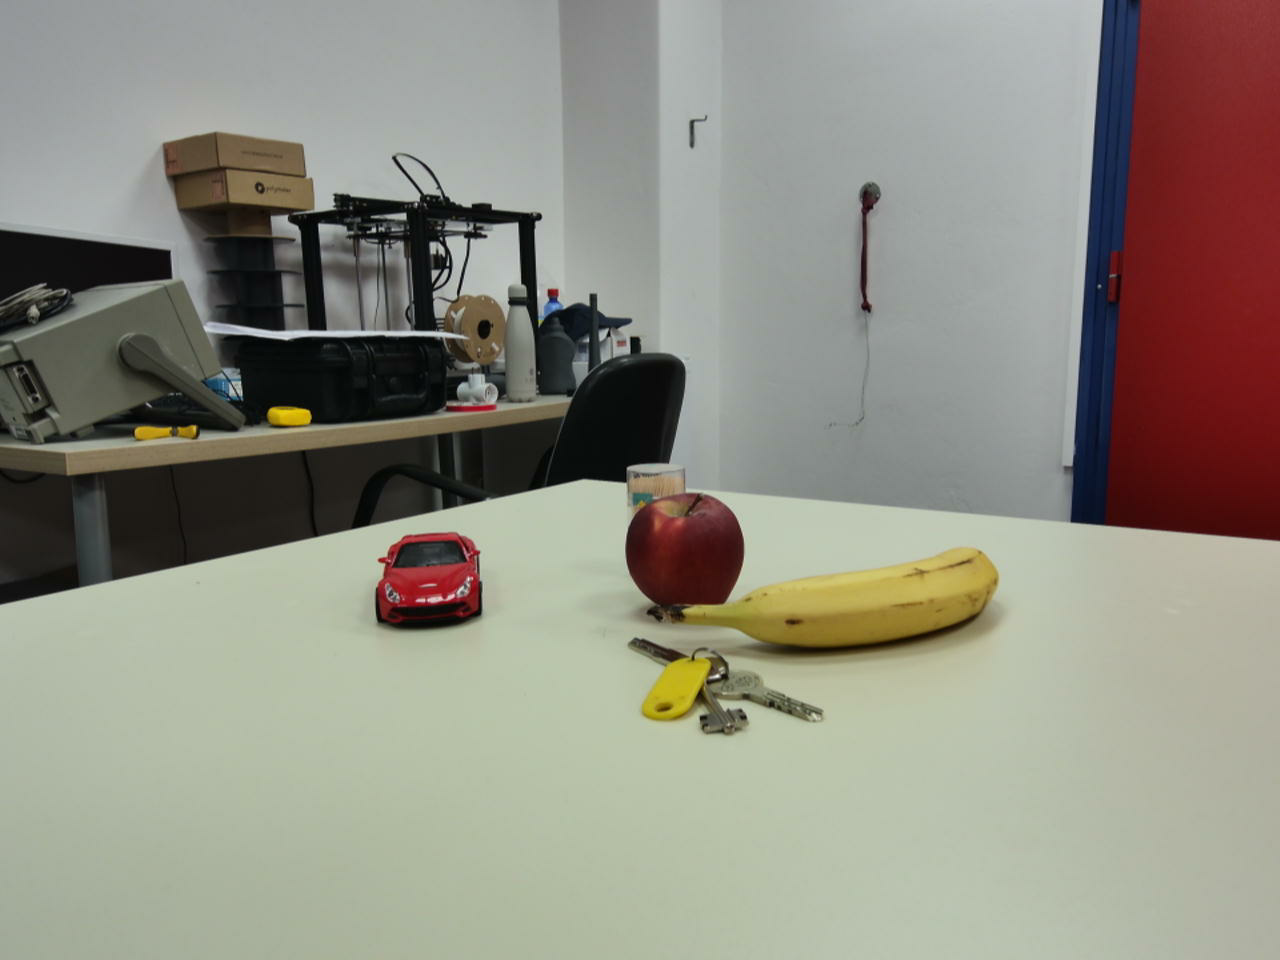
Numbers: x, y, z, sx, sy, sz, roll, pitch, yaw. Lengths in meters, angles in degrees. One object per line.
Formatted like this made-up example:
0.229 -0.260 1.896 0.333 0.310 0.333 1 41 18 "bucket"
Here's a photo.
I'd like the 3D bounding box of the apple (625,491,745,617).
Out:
0.027 0.042 0.584 0.070 0.072 0.070 1 7 0 "apple"
